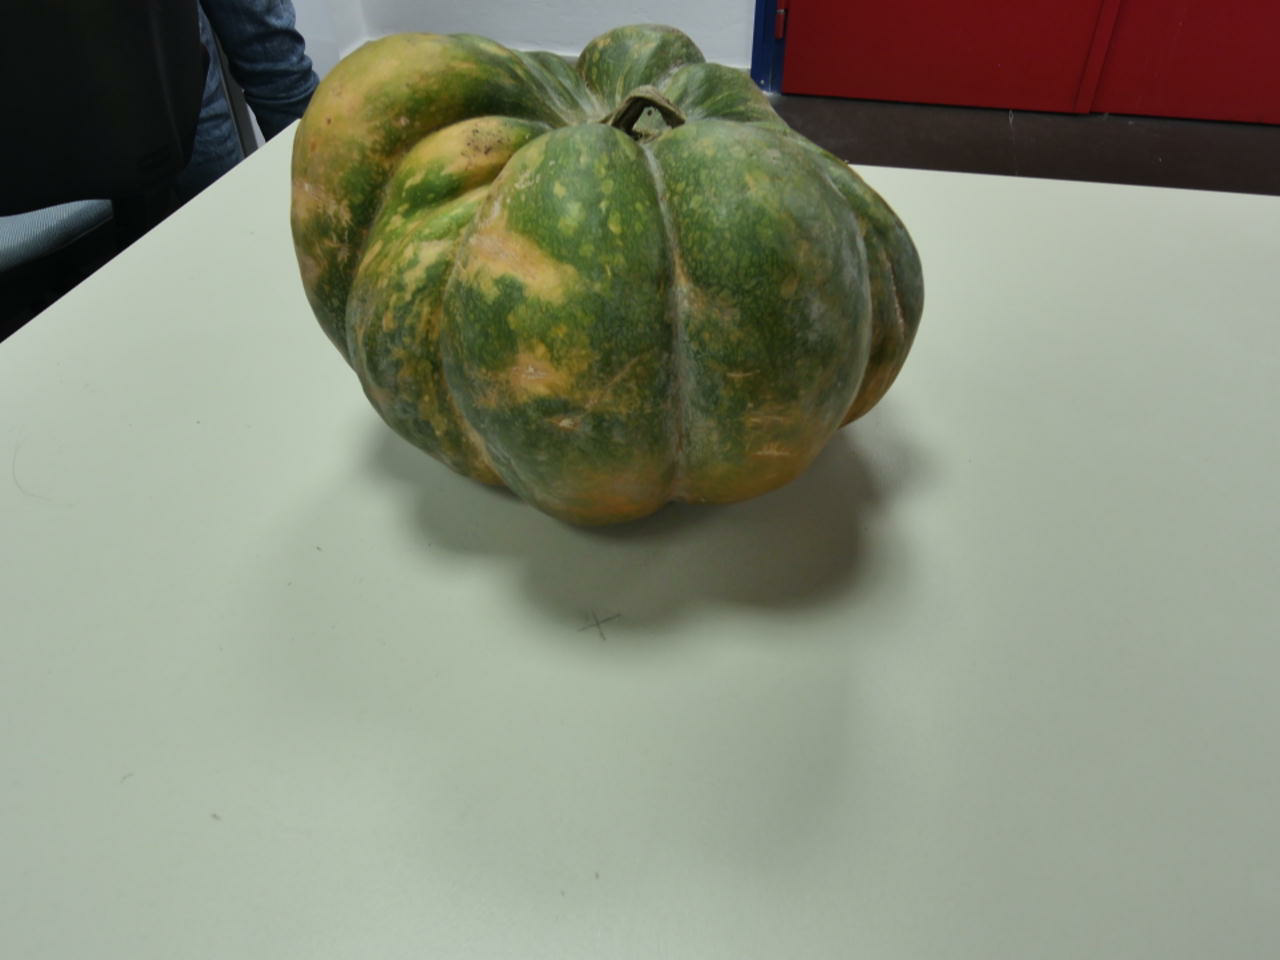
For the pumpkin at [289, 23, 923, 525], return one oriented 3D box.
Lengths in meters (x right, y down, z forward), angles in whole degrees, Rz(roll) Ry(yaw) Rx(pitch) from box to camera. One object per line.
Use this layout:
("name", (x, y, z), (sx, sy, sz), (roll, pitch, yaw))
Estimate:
("pumpkin", (-0.013, -0.096, 0.423), (0.237, 0.173, 0.270), (-27, 46, -30))
